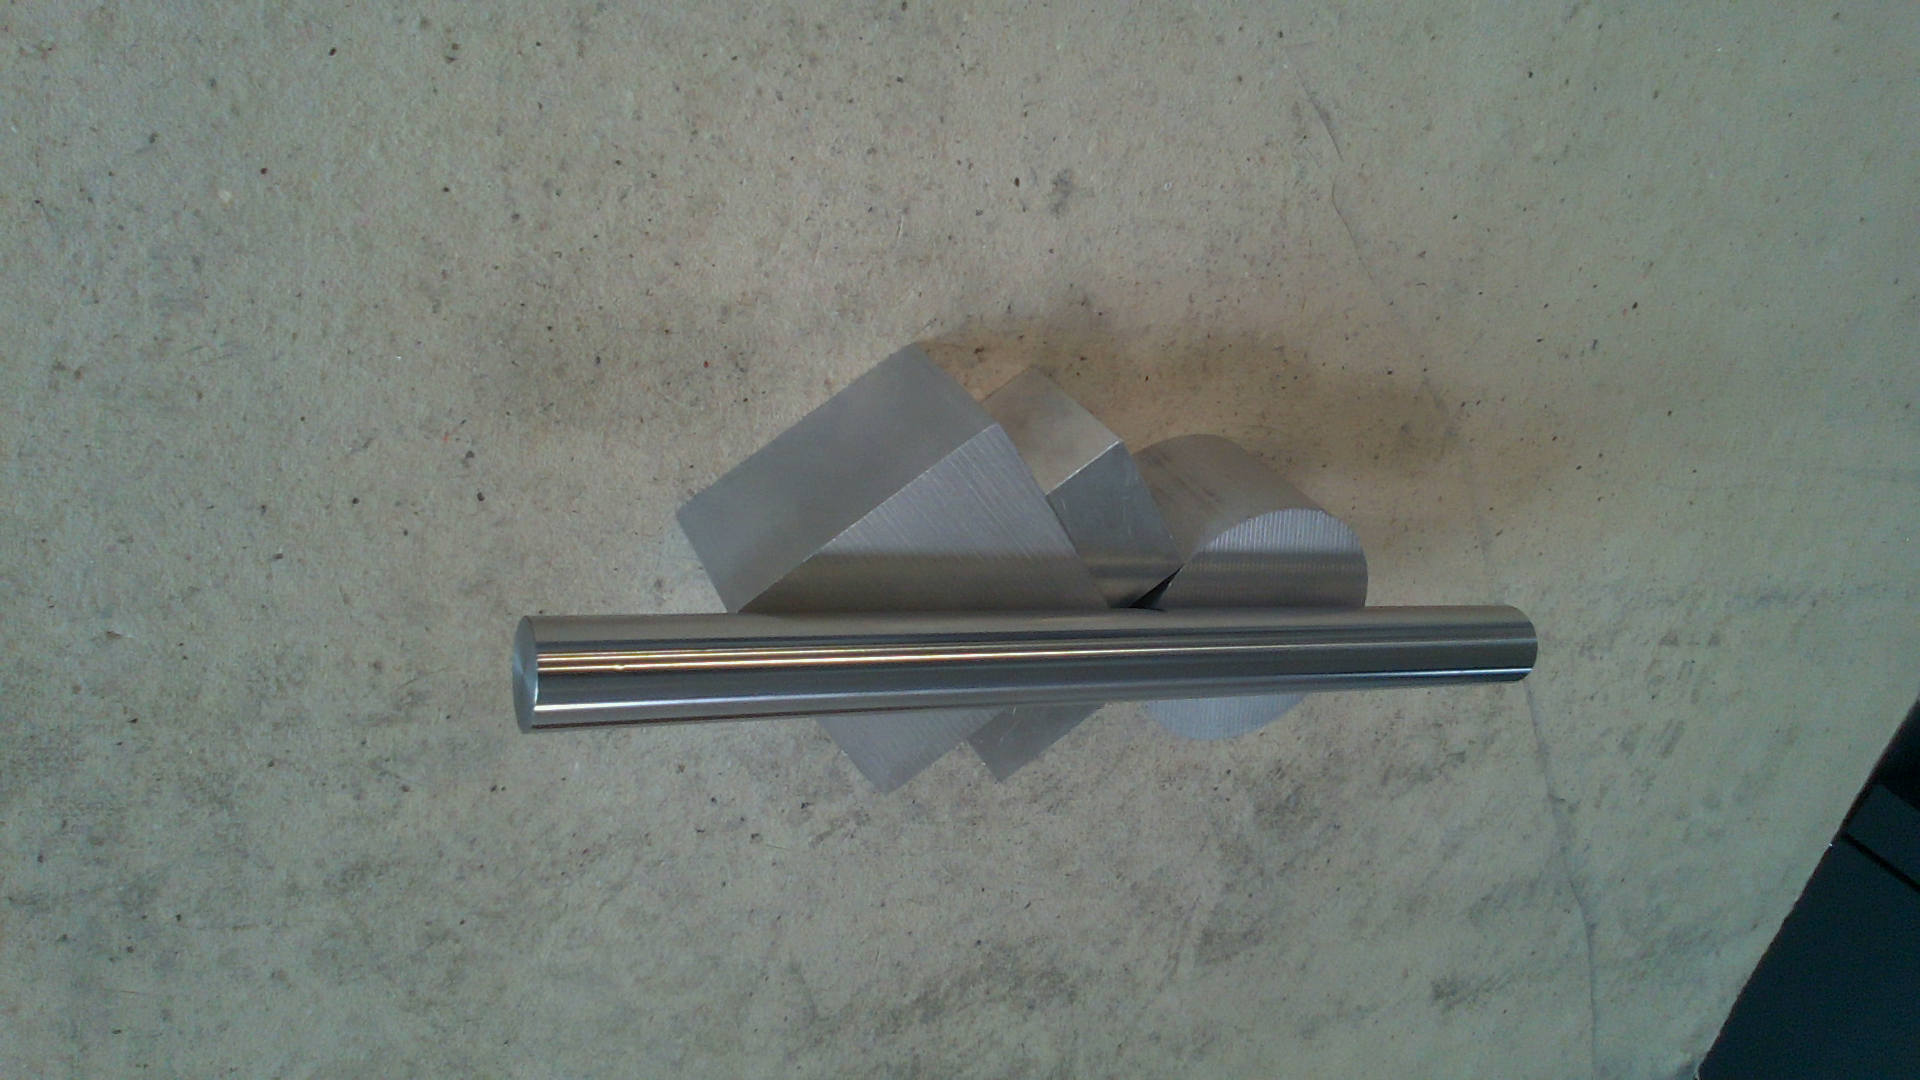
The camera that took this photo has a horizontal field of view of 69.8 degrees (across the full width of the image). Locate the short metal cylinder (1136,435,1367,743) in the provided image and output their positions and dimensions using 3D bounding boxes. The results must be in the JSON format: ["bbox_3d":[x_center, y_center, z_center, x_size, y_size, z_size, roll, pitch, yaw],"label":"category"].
[{"bbox_3d":[0.076,0.015,0.423,0.080,0.050,0.080,-14,124,-21],"label":"short metal cylinder"}]

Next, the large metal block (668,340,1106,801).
[{"bbox_3d":[-0.017,0.009,0.368,0.080,0.050,0.080,-36,129,-4],"label":"large metal block"}]

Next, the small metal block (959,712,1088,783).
[{"bbox_3d":[0.014,0.034,0.403,0.050,0.050,0.025,-37,129,-4],"label":"small metal block"}]

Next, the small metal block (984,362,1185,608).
[{"bbox_3d":[0.031,-0.014,0.382,0.025,0.050,0.050,-37,129,-4],"label":"small metal block"}]

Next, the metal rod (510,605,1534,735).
[{"bbox_3d":[0.039,0.031,0.362,0.301,0.025,0.025,1,118,-29],"label":"metal rod"}]
